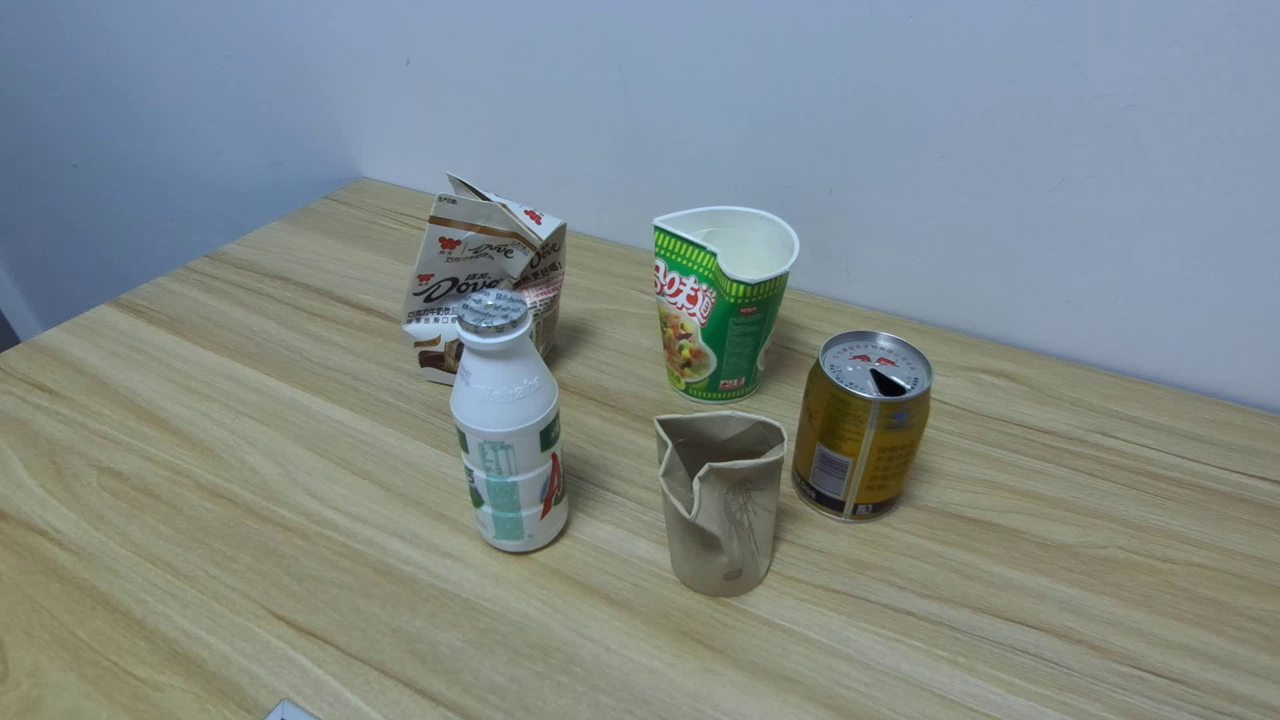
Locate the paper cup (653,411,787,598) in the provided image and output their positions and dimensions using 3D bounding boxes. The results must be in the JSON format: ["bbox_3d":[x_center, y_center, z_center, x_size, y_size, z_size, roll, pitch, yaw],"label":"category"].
[{"bbox_3d":[0.042,0.077,0.355,0.066,0.083,0.058,-3,42,1],"label":"paper cup"}]

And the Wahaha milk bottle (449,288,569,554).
[{"bbox_3d":[-0.066,0.034,0.359,0.053,0.147,0.053,0,37,1],"label":"Wahaha milk bottle"}]

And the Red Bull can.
[{"bbox_3d":[0.124,0.037,0.398,0.068,0.093,0.068,0,38,0],"label":"Red Bull can"}]

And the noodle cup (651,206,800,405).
[{"bbox_3d":[0.057,-0.032,0.468,0.087,0.109,0.093,-7,39,-7],"label":"noodle cup"}]

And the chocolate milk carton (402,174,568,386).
[{"bbox_3d":[-0.100,-0.051,0.471,0.089,0.155,0.077,20,45,3],"label":"chocolate milk carton"}]
